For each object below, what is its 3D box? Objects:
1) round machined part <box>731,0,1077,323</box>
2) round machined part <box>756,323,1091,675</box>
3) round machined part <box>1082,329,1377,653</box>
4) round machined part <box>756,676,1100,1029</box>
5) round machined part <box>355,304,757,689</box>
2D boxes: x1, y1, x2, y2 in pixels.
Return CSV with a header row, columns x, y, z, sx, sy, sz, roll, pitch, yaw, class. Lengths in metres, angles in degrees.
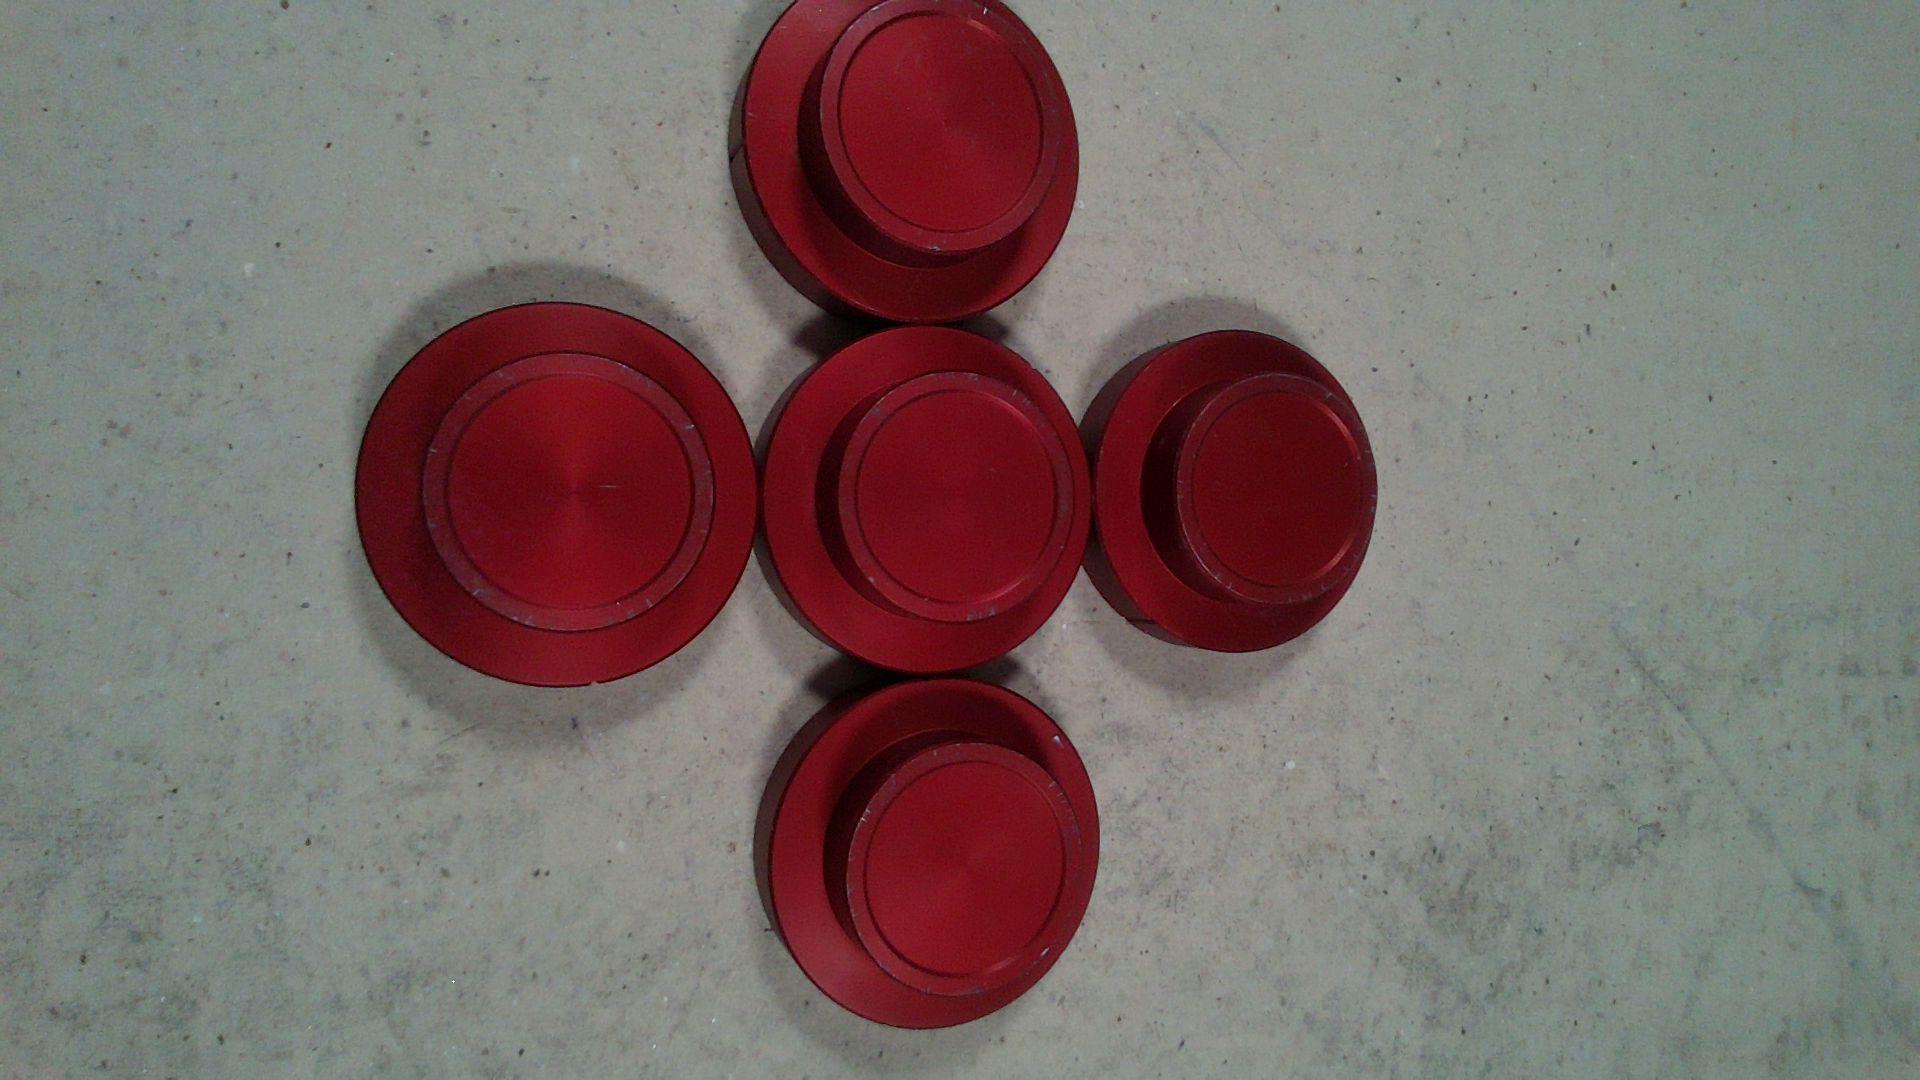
x,y,z,sx,sy,sz,roll,pitch,yaw,class
-0.012,-0.110,0.380,0.098,0.042,0.098,0,90,-20,round machined part
-0.008,-0.012,0.382,0.098,0.042,0.098,0,90,-20,round machined part
0.085,-0.015,0.416,0.098,0.042,0.098,0,90,-20,round machined part
-0.005,0.087,0.382,0.098,0.042,0.098,0,90,-20,round machined part
-0.100,-0.011,0.348,0.098,0.042,0.098,0,90,-20,round machined part
